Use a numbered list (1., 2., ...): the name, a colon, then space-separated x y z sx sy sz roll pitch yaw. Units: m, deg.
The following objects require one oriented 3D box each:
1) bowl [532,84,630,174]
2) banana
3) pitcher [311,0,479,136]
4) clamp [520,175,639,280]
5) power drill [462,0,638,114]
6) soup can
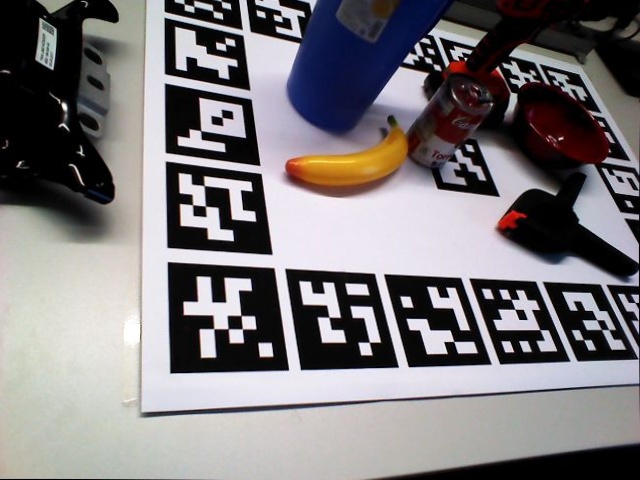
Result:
1. bowl: 0.372 -0.153 0.766 0.161 0.055 0.161 11 57 -19
2. banana: 0.063 -0.087 0.592 0.196 0.039 0.074 -23 64 -36
3. pitcher: 0.086 -0.235 0.564 0.187 0.244 0.133 -22 68 -34
4. clamp: 0.343 -0.018 0.670 0.202 0.037 0.164 1 64 -25
5. power drill: 0.295 -0.250 0.683 0.184 0.188 0.057 -2 61 -27
6. soup can: 0.180 -0.141 0.639 0.068 0.103 0.067 13 47 -15
